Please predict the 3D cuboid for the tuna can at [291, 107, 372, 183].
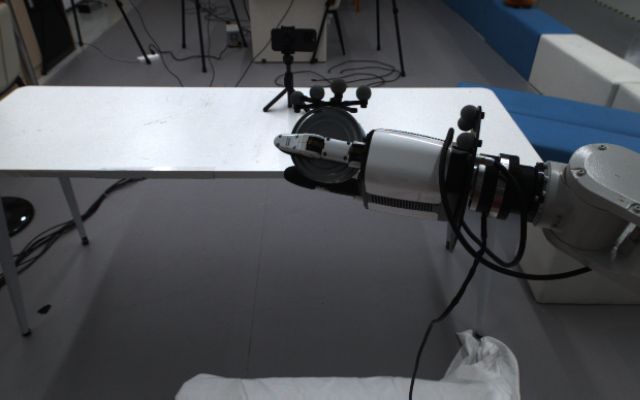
[{"bbox_3d":[0.012,-0.062,0.557,0.085,0.085,0.034,15,2,18],"label":"tuna can"}]
